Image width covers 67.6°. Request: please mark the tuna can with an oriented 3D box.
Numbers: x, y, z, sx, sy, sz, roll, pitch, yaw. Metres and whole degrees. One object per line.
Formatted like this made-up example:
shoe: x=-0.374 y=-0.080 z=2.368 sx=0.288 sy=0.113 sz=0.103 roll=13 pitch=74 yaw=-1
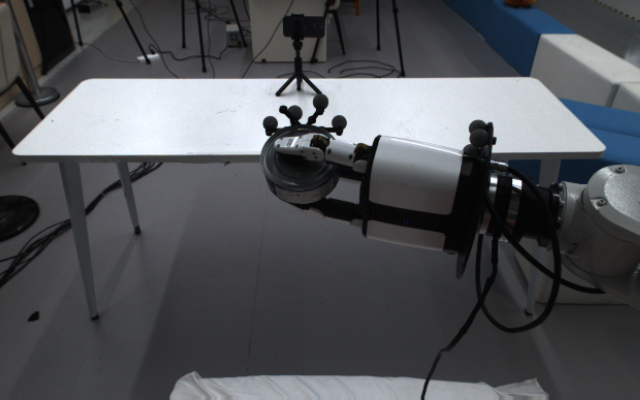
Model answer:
tuna can: x=-0.019 y=-0.039 z=0.529 sx=0.085 sy=0.034 sz=0.085 roll=-1 pitch=58 yaw=2
